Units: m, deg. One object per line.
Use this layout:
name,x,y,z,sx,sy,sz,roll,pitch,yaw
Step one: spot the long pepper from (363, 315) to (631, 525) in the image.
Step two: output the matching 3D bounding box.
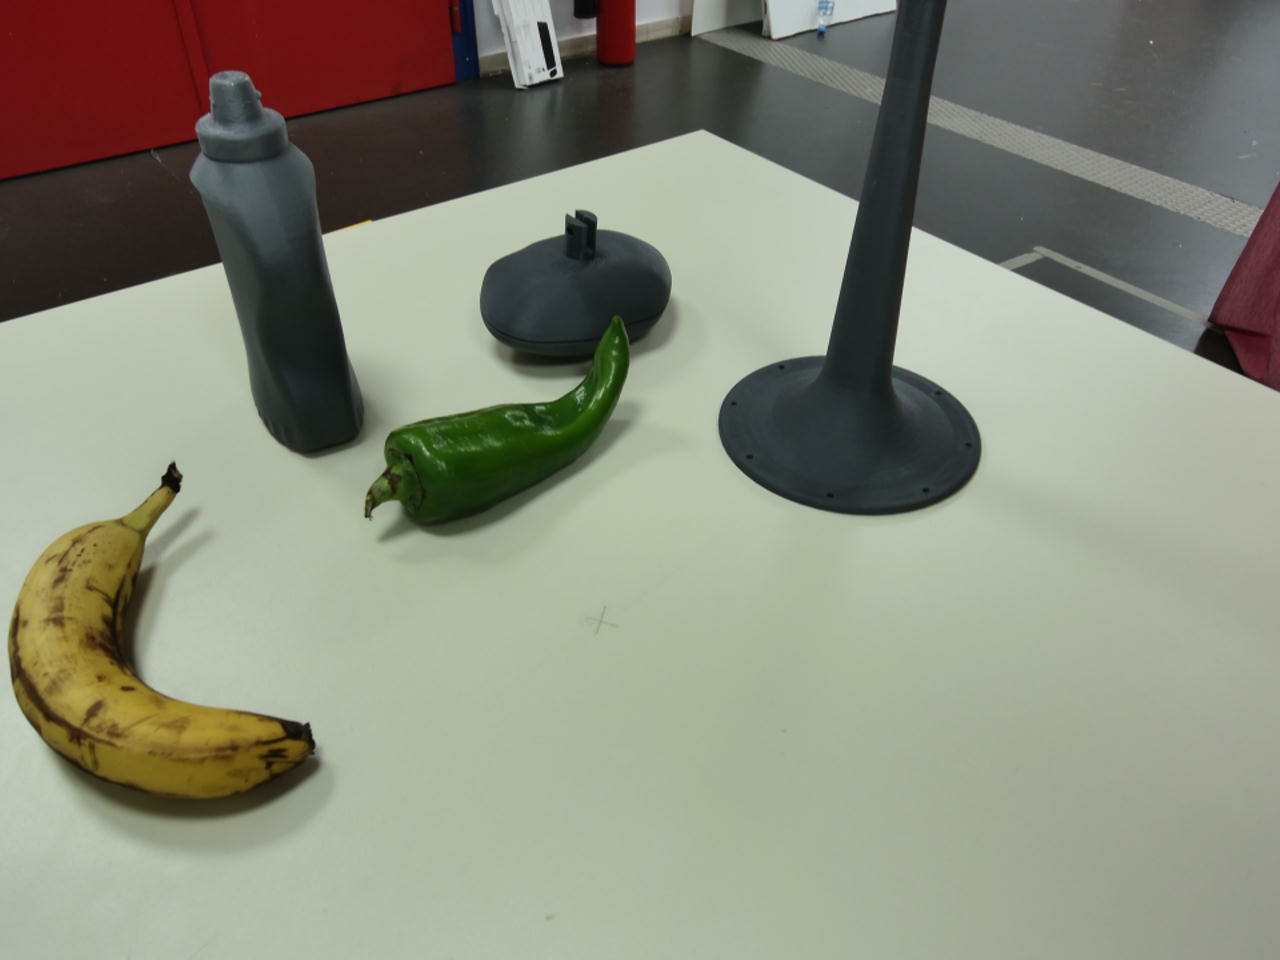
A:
long pepper,-0.068,-0.028,0.524,0.175,0.065,0.058,-27,45,-31
